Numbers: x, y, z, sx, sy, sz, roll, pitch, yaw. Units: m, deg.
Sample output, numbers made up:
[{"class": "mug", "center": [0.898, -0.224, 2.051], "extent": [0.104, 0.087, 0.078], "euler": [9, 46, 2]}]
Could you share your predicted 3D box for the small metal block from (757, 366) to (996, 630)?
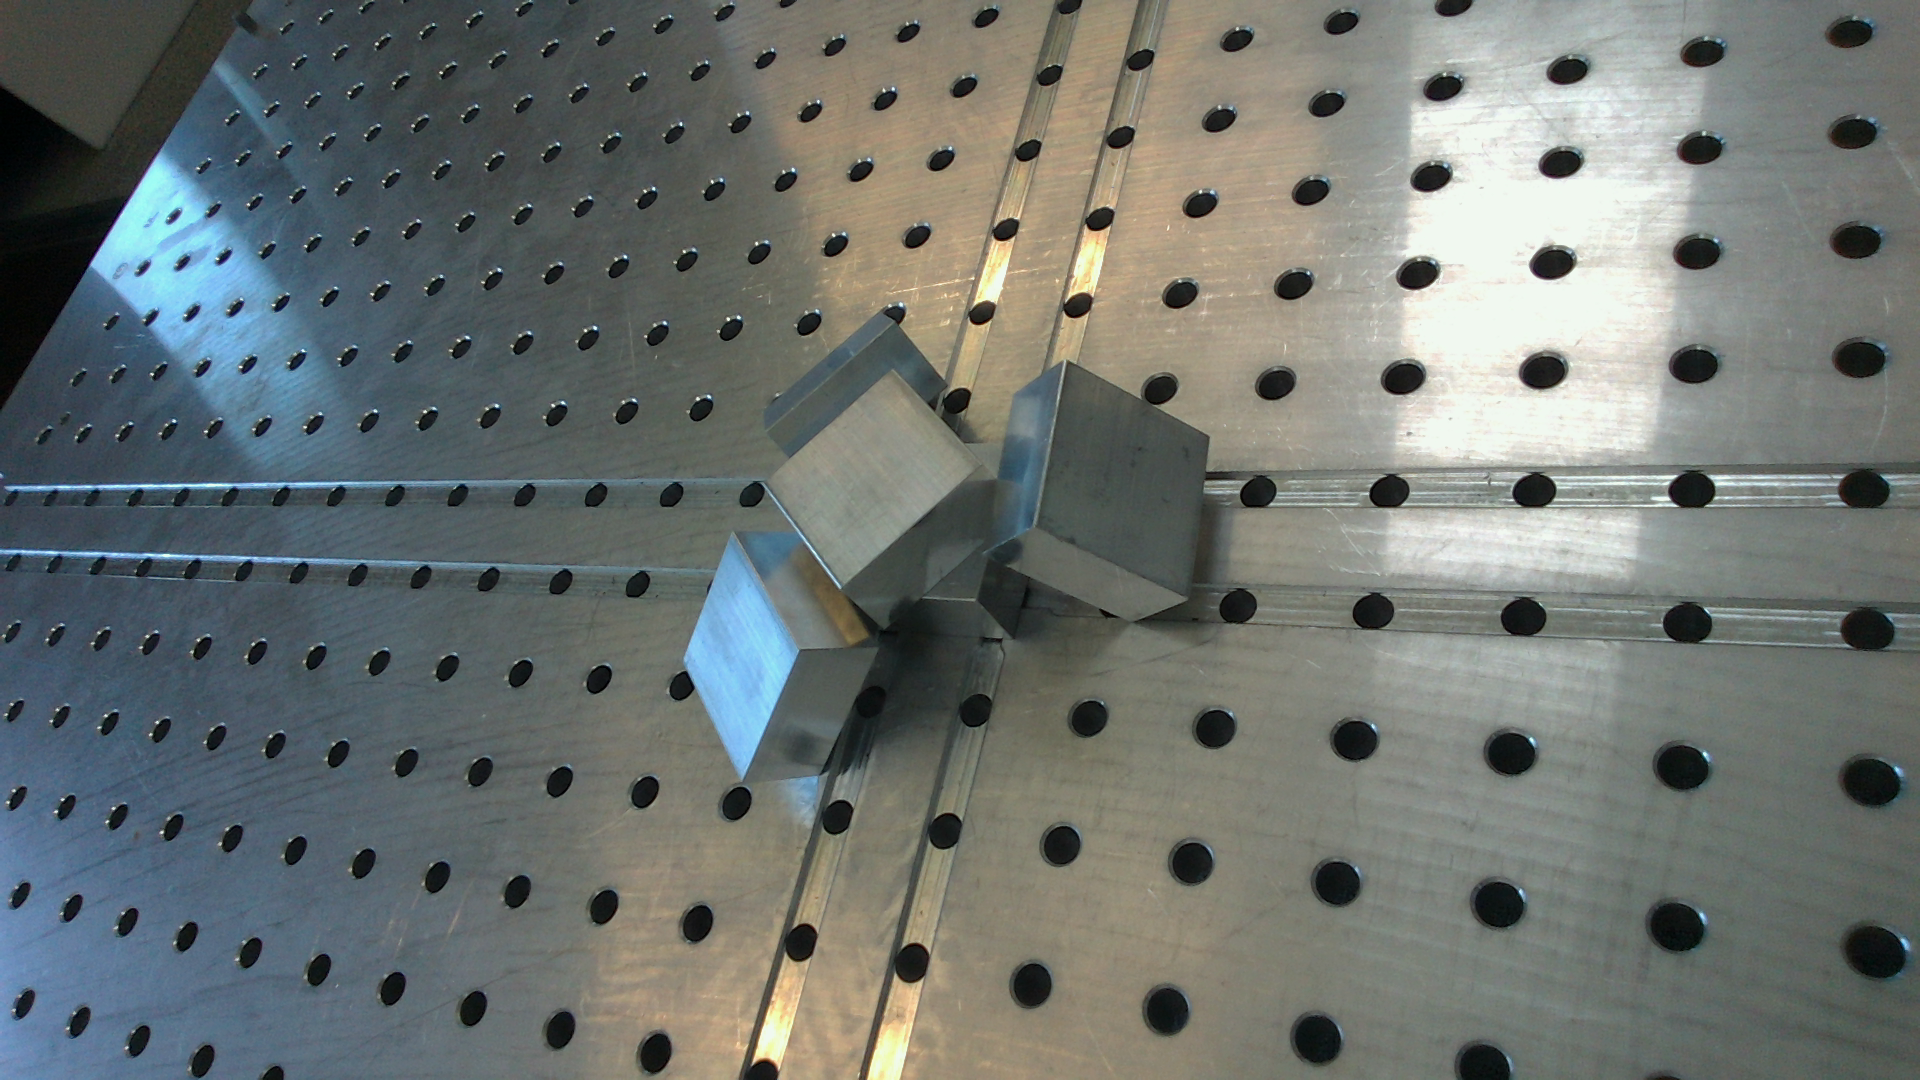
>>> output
[{"class": "small metal block", "center": [-0.021, -0.012, 0.383], "extent": [0.050, 0.025, 0.050], "euler": [-41, 51, 0]}]

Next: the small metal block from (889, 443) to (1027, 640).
[{"class": "small metal block", "center": [-0.006, 0.000, 0.400], "extent": [0.050, 0.025, 0.050], "euler": [1, 65, 29]}]

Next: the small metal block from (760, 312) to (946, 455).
[{"class": "small metal block", "center": [-0.035, -0.044, 0.427], "extent": [0.050, 0.025, 0.050], "euler": [-40, 15, 1]}]

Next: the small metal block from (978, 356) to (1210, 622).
[{"class": "small metal block", "center": [0.037, -0.013, 0.365], "extent": [0.025, 0.050, 0.050], "euler": [-29, 42, 53]}]

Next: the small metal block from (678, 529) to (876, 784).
[{"class": "small metal block", "center": [-0.053, 0.032, 0.389], "extent": [0.050, 0.025, 0.050], "euler": [53, 130, 40]}]
